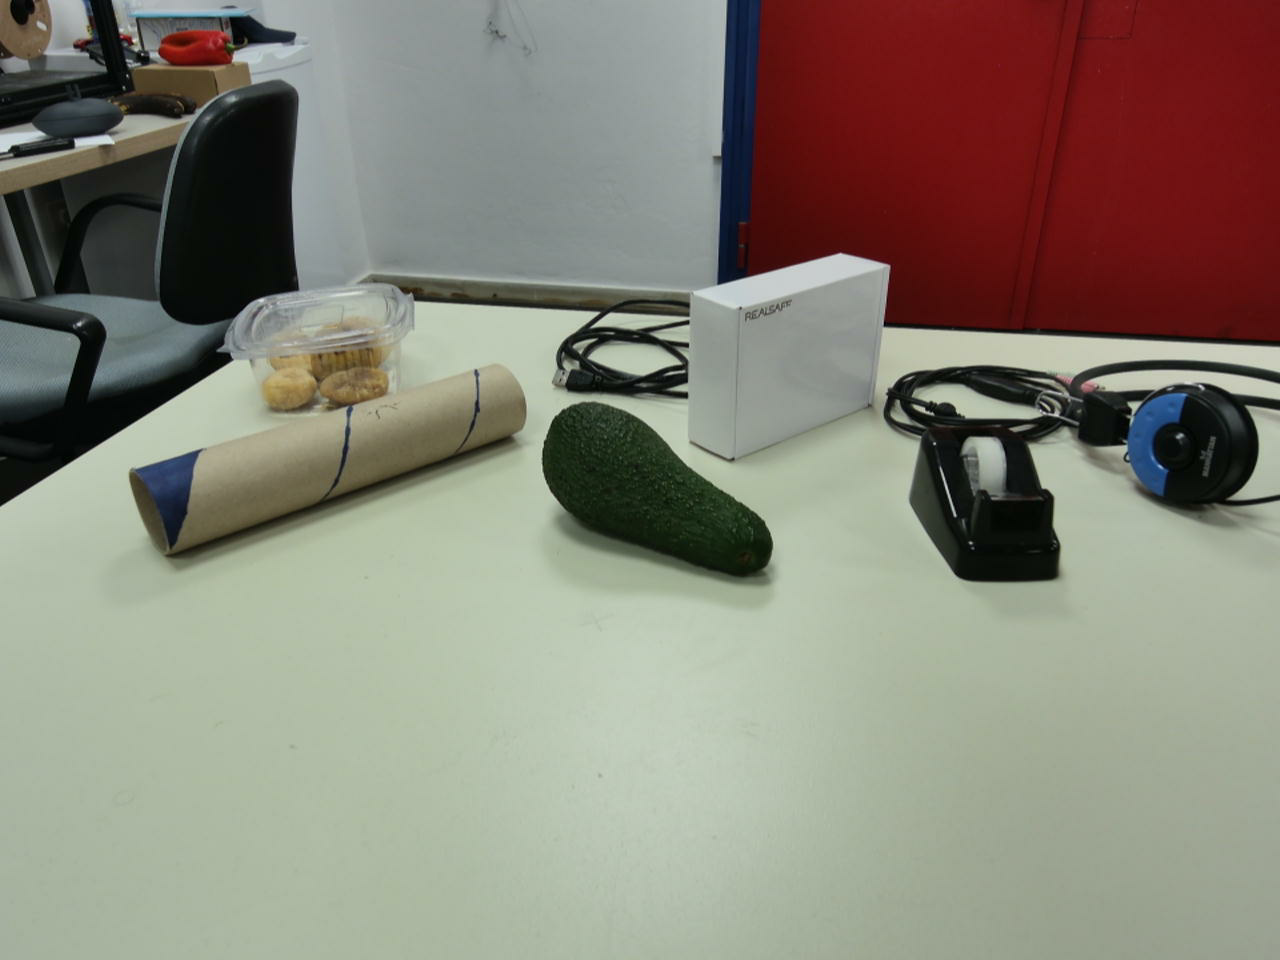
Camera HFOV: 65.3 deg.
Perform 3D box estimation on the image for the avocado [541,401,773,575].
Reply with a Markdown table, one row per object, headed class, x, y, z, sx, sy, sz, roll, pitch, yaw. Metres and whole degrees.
| class | x | y | z | sx | sy | sz | roll | pitch | yaw |
| --- | --- | --- | --- | --- | --- | --- | --- | --- | --- |
| avocado | 0.010 | 0.000 | 0.513 | 0.141 | 0.067 | 0.063 | 13 | 28 | 25 |
